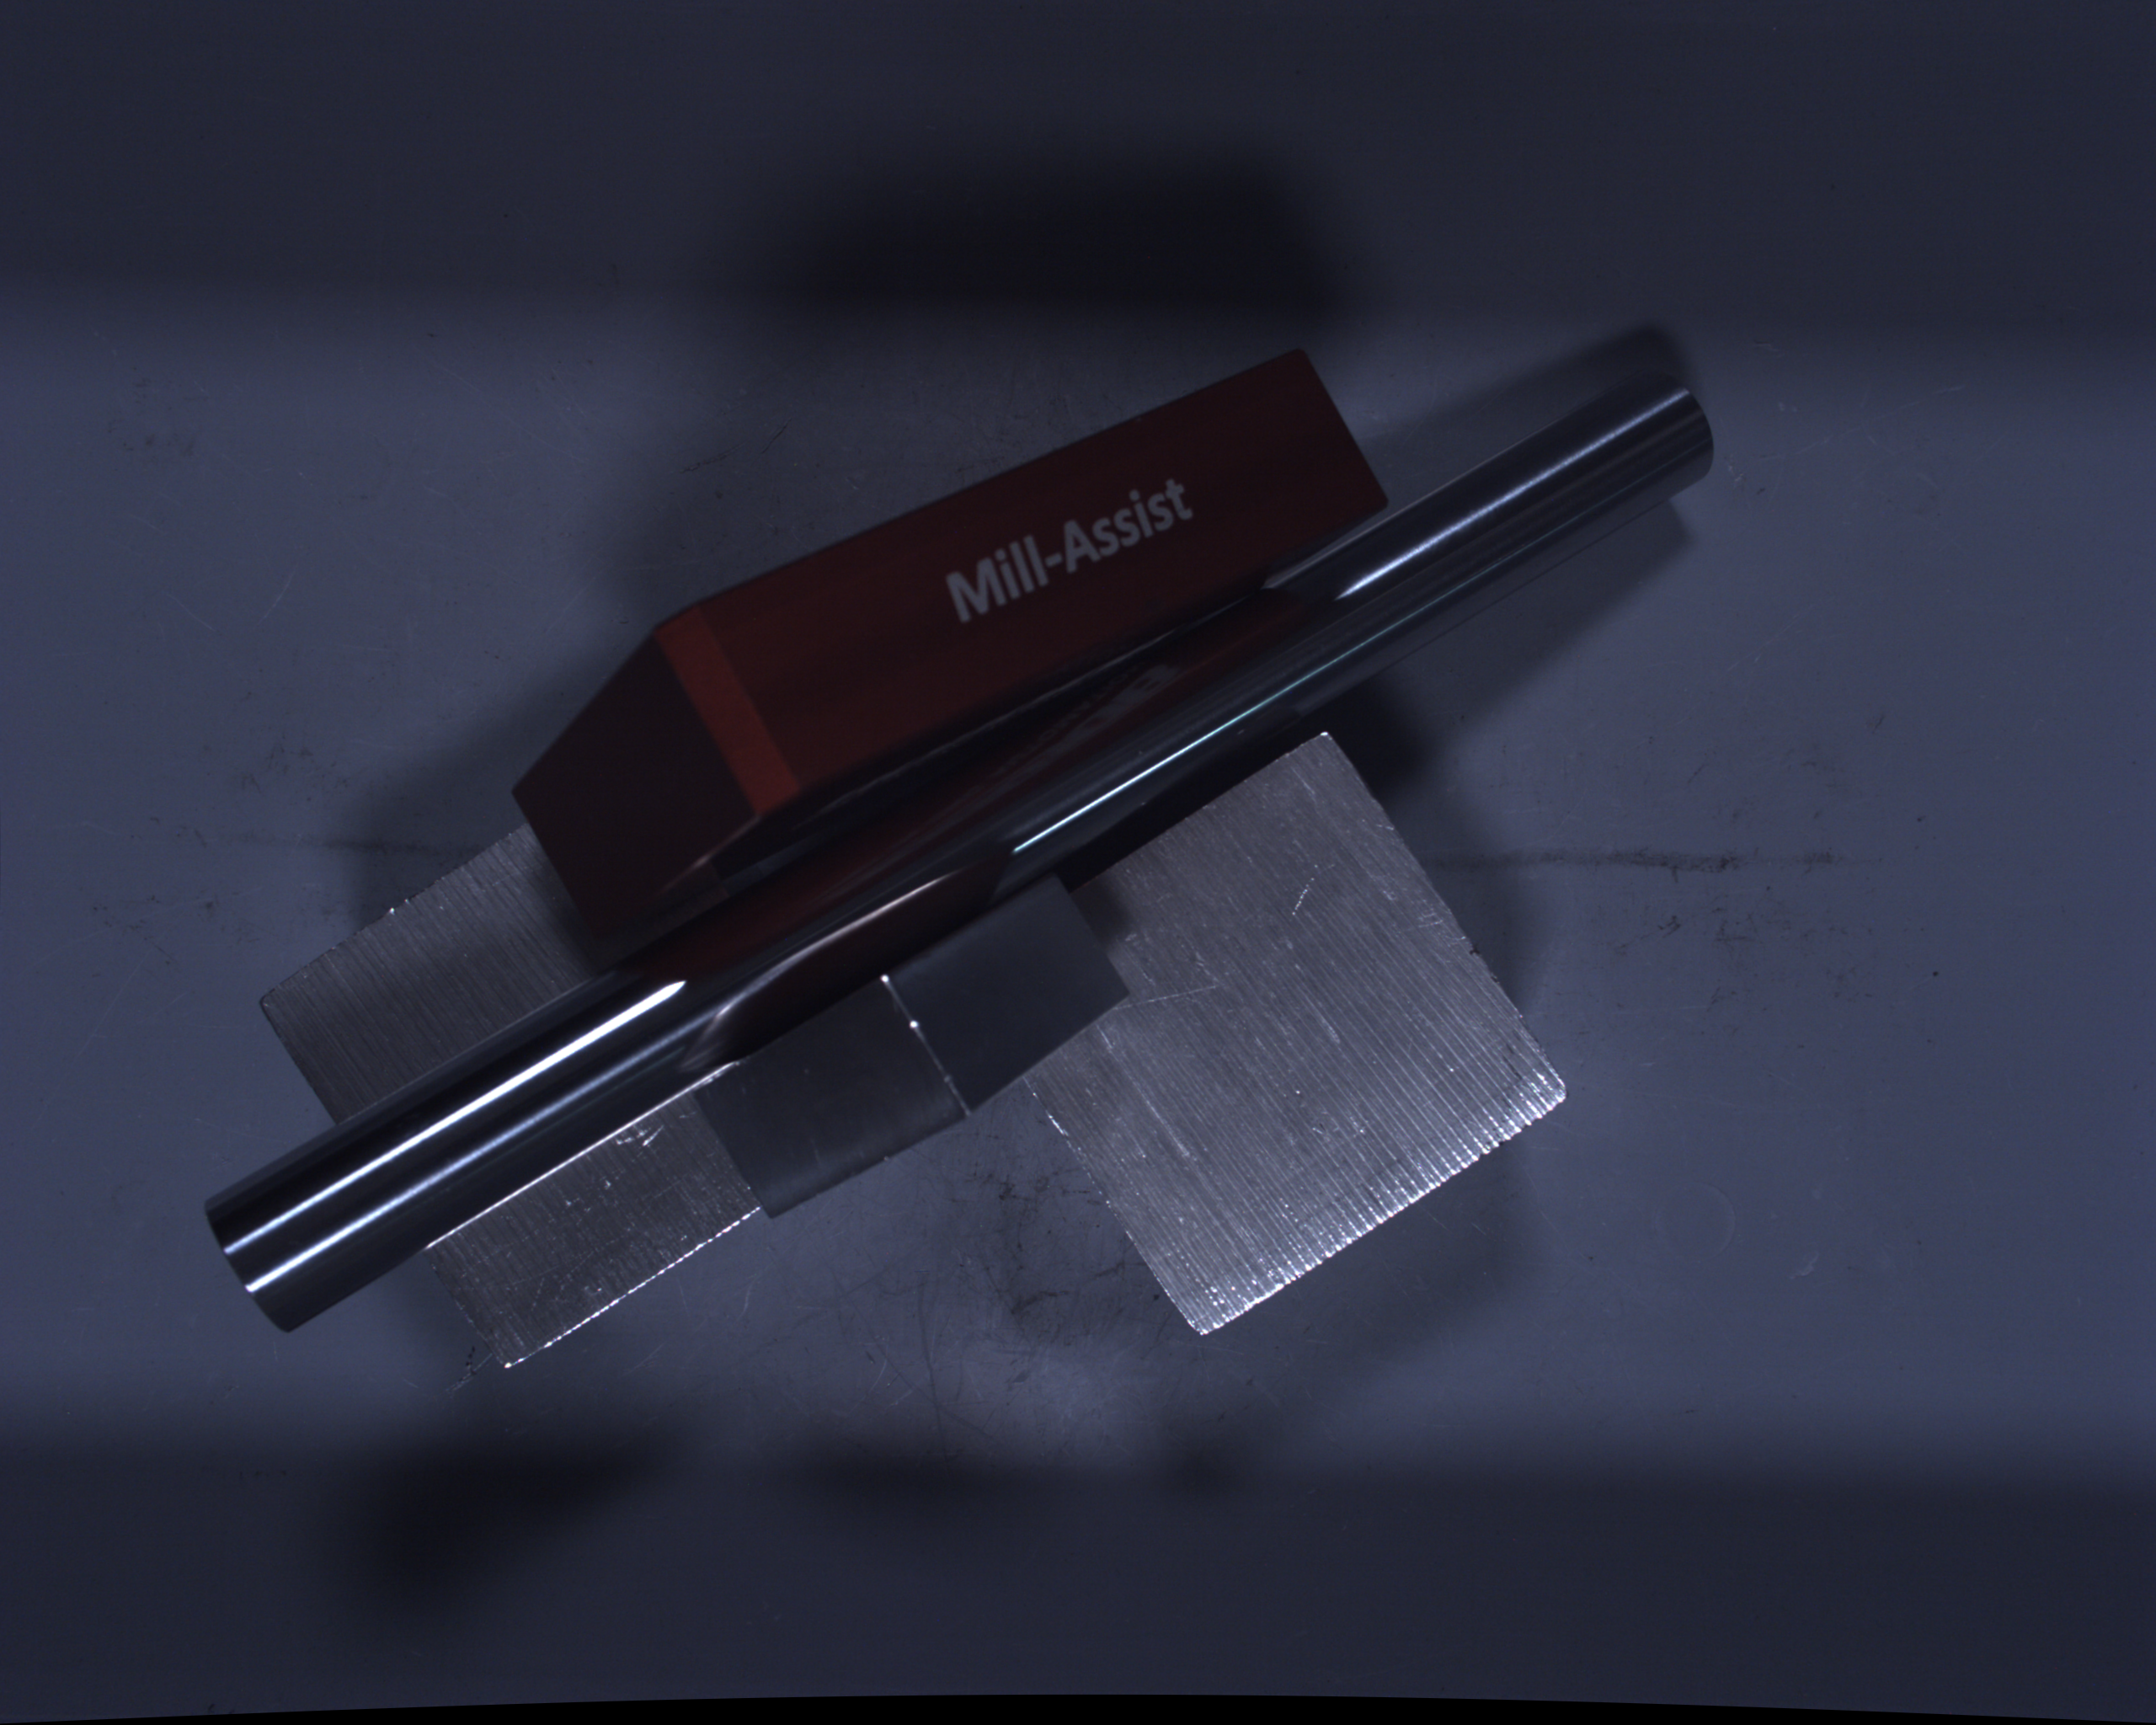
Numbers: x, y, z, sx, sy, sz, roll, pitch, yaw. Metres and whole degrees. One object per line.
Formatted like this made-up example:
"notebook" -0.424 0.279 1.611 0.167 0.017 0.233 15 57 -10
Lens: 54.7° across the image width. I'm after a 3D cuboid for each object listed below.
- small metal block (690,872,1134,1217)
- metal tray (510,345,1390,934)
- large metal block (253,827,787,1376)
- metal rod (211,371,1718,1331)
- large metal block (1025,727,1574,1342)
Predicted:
"small metal block" -0.027 0.030 0.349 0.050 0.050 0.025 -30 90 36
"metal tray" -0.021 -0.037 0.350 0.131 0.090 0.030 -30 92 -32
"large metal block" -0.090 0.036 0.394 0.080 0.050 0.080 -34 90 0
"metal rod" -0.007 -0.011 0.373 0.302 0.025 0.025 -31 90 -16
"large metal block" 0.033 0.031 0.398 0.080 0.050 0.080 -34 90 0
